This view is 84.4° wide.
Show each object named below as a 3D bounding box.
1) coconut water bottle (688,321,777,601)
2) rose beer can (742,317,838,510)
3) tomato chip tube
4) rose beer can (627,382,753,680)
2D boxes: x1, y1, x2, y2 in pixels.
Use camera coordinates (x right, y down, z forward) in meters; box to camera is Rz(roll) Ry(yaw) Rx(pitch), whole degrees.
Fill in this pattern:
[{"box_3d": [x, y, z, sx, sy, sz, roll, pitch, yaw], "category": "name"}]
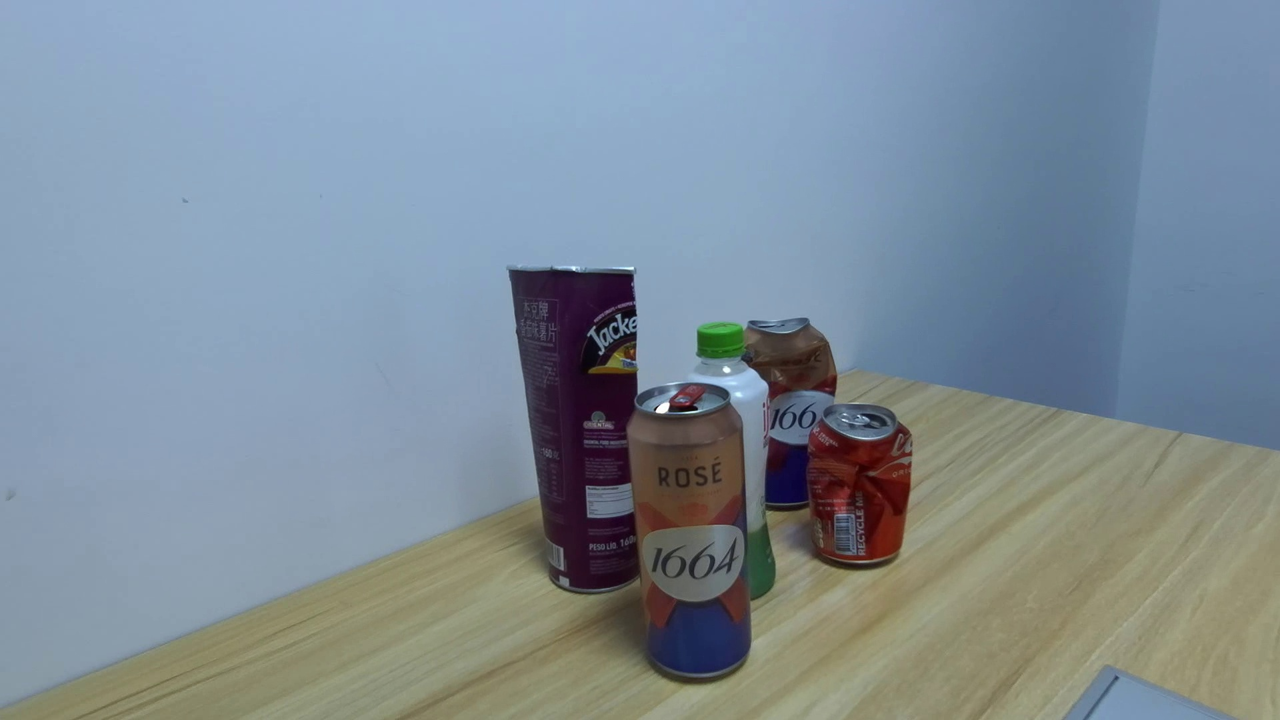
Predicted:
[{"box_3d": [0.060, 0.070, 0.491, 0.063, 0.188, 0.063, -5, 14, 1], "category": "coconut water bottle"}, {"box_3d": [0.122, 0.046, 0.609, 0.074, 0.162, 0.067, -12, 15, -31], "category": "rose beer can"}, {"box_3d": [-0.040, 0.049, 0.514, 0.078, 0.236, 0.090, -8, 14, -13], "category": "tomato chip tube"}, {"box_3d": [0.031, 0.102, 0.422, 0.068, 0.169, 0.068, -3, 16, 1], "category": "rose beer can"}]
